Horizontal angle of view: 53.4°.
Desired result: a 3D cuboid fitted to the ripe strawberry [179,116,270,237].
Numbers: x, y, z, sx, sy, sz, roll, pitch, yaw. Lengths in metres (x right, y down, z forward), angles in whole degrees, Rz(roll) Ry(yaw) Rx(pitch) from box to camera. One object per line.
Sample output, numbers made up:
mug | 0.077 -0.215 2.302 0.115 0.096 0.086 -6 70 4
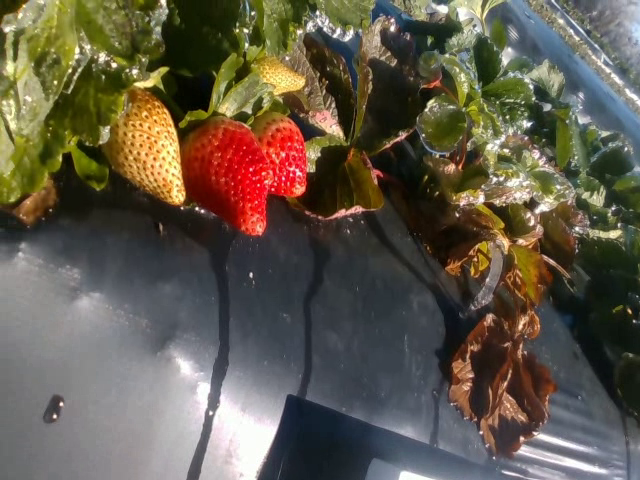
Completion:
ripe strawberry | -0.032 -0.019 0.237 0.036 0.052 0.040 -19 -27 -37

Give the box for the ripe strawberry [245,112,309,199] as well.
ripe strawberry | -0.018 -0.035 0.271 0.036 0.041 0.030 -46 20 -28
